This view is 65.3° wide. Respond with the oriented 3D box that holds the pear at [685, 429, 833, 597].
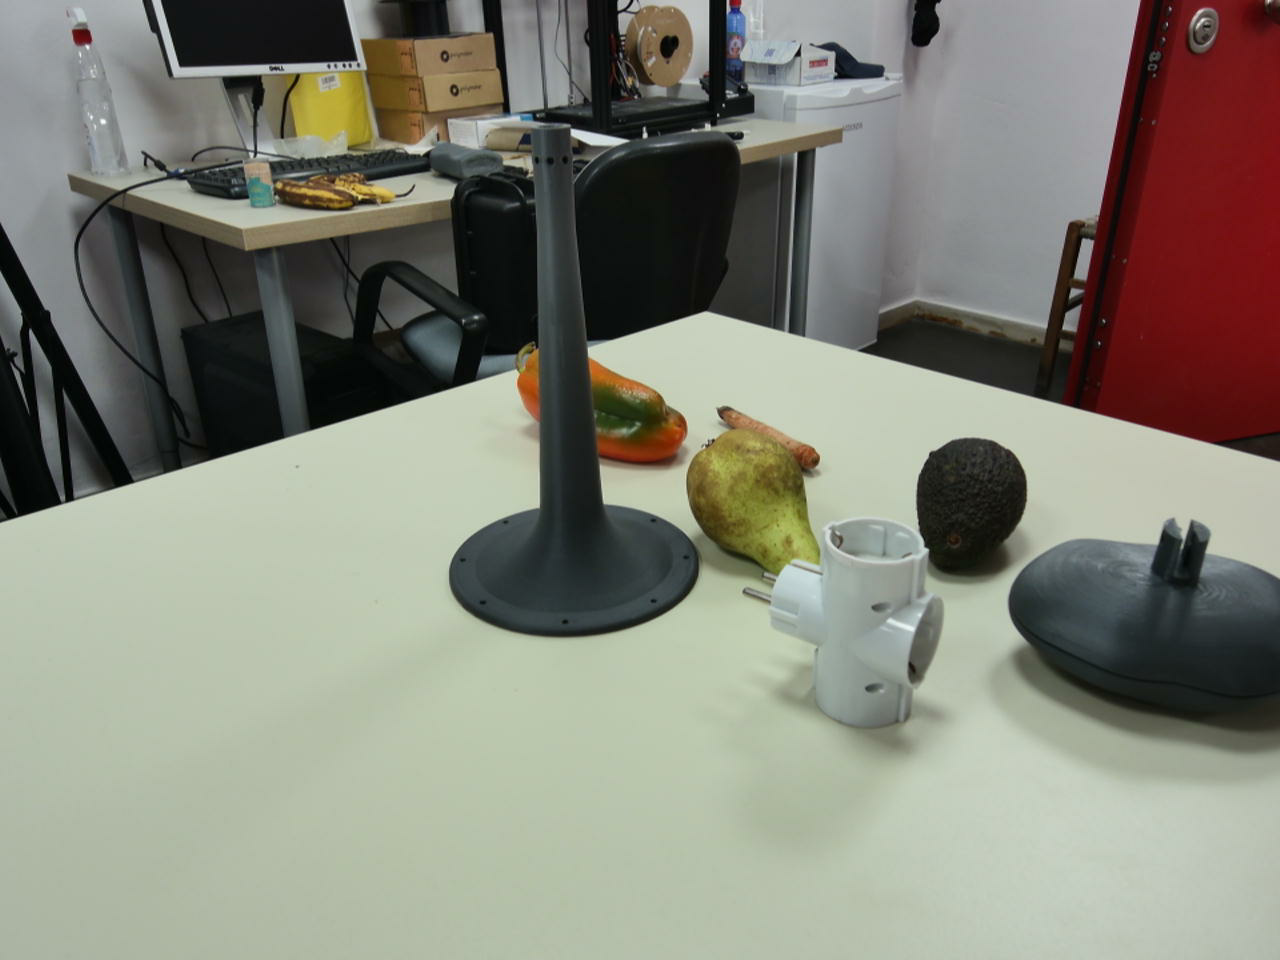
[{"bbox_3d":[0.085,0.018,0.590,0.071,0.075,0.144,-17,29,-32],"label":"pear"}]
